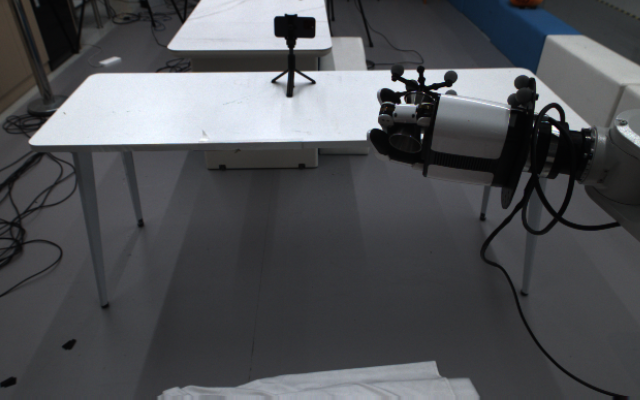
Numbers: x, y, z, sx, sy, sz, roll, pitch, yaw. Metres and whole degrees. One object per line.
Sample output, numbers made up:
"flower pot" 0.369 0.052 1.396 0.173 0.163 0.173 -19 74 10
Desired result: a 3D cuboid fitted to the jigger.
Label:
"jigger" 0.122 -0.101 0.623 0.043 0.043 0.071 13 69 15
